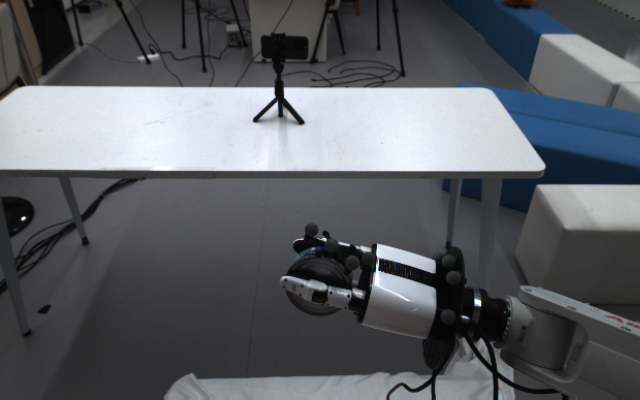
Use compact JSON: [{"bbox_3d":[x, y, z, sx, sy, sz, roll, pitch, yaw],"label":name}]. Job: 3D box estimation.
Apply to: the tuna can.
[{"bbox_3d":[0.002,0.103,0.625,0.085,0.085,0.034,7,16,7],"label":"tuna can"}]
